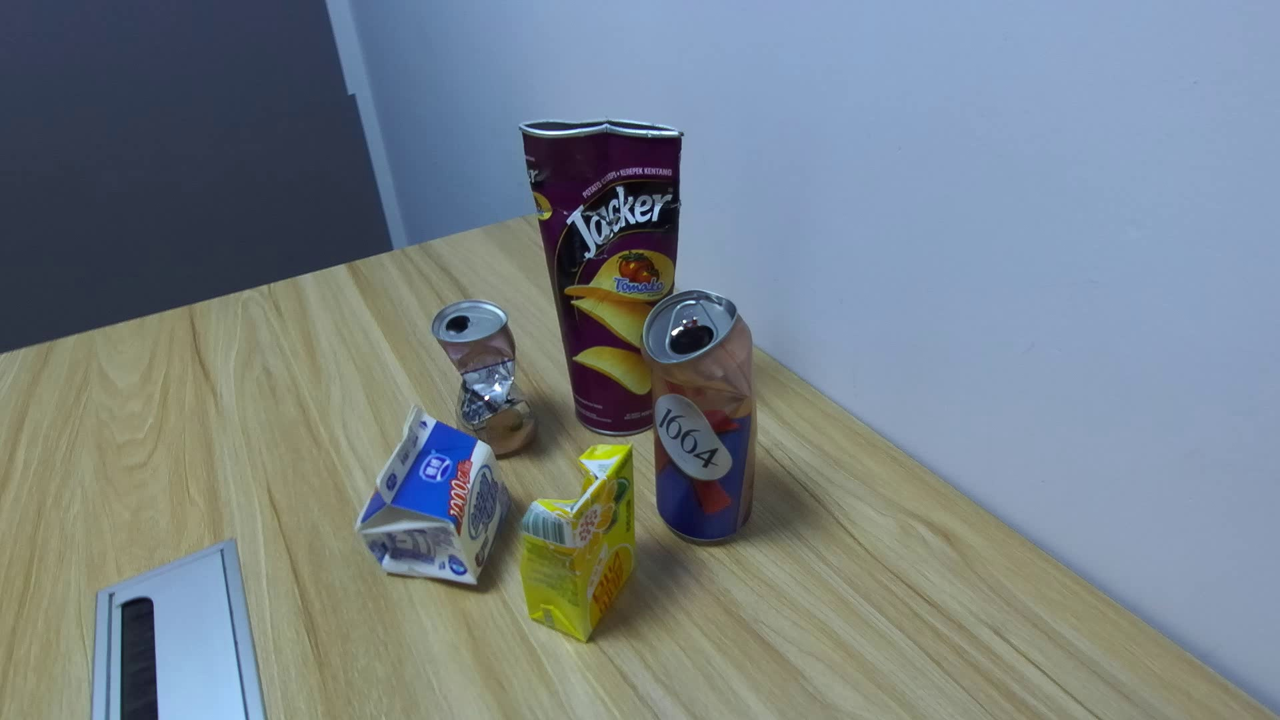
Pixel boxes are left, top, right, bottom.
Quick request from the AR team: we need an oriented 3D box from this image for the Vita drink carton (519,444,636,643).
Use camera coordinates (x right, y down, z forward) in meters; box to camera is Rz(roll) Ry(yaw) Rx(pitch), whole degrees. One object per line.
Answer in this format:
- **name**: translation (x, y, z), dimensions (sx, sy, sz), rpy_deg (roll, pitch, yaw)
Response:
- **Vita drink carton**: translation (-0.036, 0.100, 0.411), dimensions (0.046, 0.110, 0.071), rpy_deg (17, 38, 24)

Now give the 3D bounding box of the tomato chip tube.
- **tomato chip tube**: translation (-0.023, -0.055, 0.520), dimensions (0.078, 0.236, 0.089), rpy_deg (-20, 40, -22)

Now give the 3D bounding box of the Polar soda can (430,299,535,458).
- **Polar soda can**: translation (-0.116, 0.016, 0.537), dimensions (0.074, 0.114, 0.070), rpy_deg (5, 40, 17)

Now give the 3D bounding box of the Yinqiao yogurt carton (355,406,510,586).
- **Yinqiao yogurt carton**: translation (-0.140, 0.086, 0.451), dimensions (0.080, 0.097, 0.074), rpy_deg (-5, 34, 12)

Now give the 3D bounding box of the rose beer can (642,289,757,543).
- **rose beer can**: translation (0.039, 0.039, 0.440), dimensions (0.069, 0.168, 0.070), rpy_deg (0, 39, 10)
